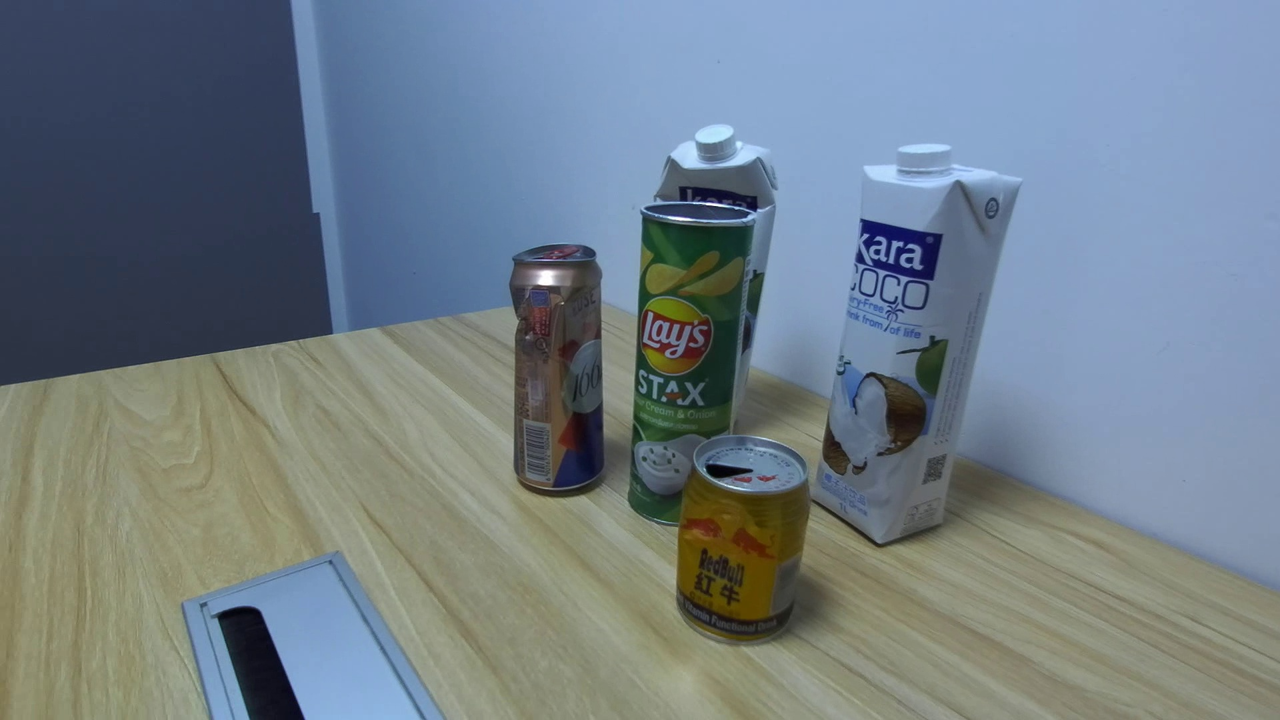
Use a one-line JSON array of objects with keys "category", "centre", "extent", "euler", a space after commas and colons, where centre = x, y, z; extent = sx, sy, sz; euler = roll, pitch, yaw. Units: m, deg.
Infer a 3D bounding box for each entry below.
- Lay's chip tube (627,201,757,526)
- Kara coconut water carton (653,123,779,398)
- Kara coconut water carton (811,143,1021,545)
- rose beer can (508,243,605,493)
[{"category": "Lay's chip tube", "centre": [0.031, 0.003, 0.458], "extent": [0.071, 0.202, 0.071], "euler": [2, 22, -1]}, {"category": "Kara coconut water carton", "centre": [0.054, -0.059, 0.563], "extent": [0.099, 0.244, 0.071], "euler": [7, 16, 14]}, {"category": "Kara coconut water carton", "centre": [0.170, -0.009, 0.449], "extent": [0.075, 0.245, 0.076], "euler": [-8, 23, -30]}, {"category": "rose beer can", "centre": [-0.058, 0.008, 0.496], "extent": [0.065, 0.167, 0.076], "euler": [12, 24, 30]}]
